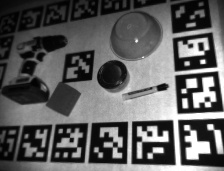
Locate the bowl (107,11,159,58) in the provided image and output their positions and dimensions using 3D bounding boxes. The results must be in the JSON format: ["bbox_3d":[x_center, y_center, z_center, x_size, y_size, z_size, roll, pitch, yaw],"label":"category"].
[{"bbox_3d":[0.049,-0.159,0.620,0.160,0.056,0.161,-10,60,19],"label":"bowl"}]

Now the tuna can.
[{"bbox_3d":[-0.004,-0.034,0.592,0.085,0.034,0.085,-5,69,15],"label":"tuna can"}]

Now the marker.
[{"bbox_3d":[0.076,0.011,0.554,0.120,0.020,0.019,-14,68,14],"label":"marker"}]

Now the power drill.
[{"bbox_3d":[-0.248,-0.064,0.683,0.183,0.058,0.186,-4,67,14],"label":"power drill"}]

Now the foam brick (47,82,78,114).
[{"bbox_3d":[-0.143,0.034,0.614,0.051,0.053,0.078,21,80,24],"label":"foam brick"}]
